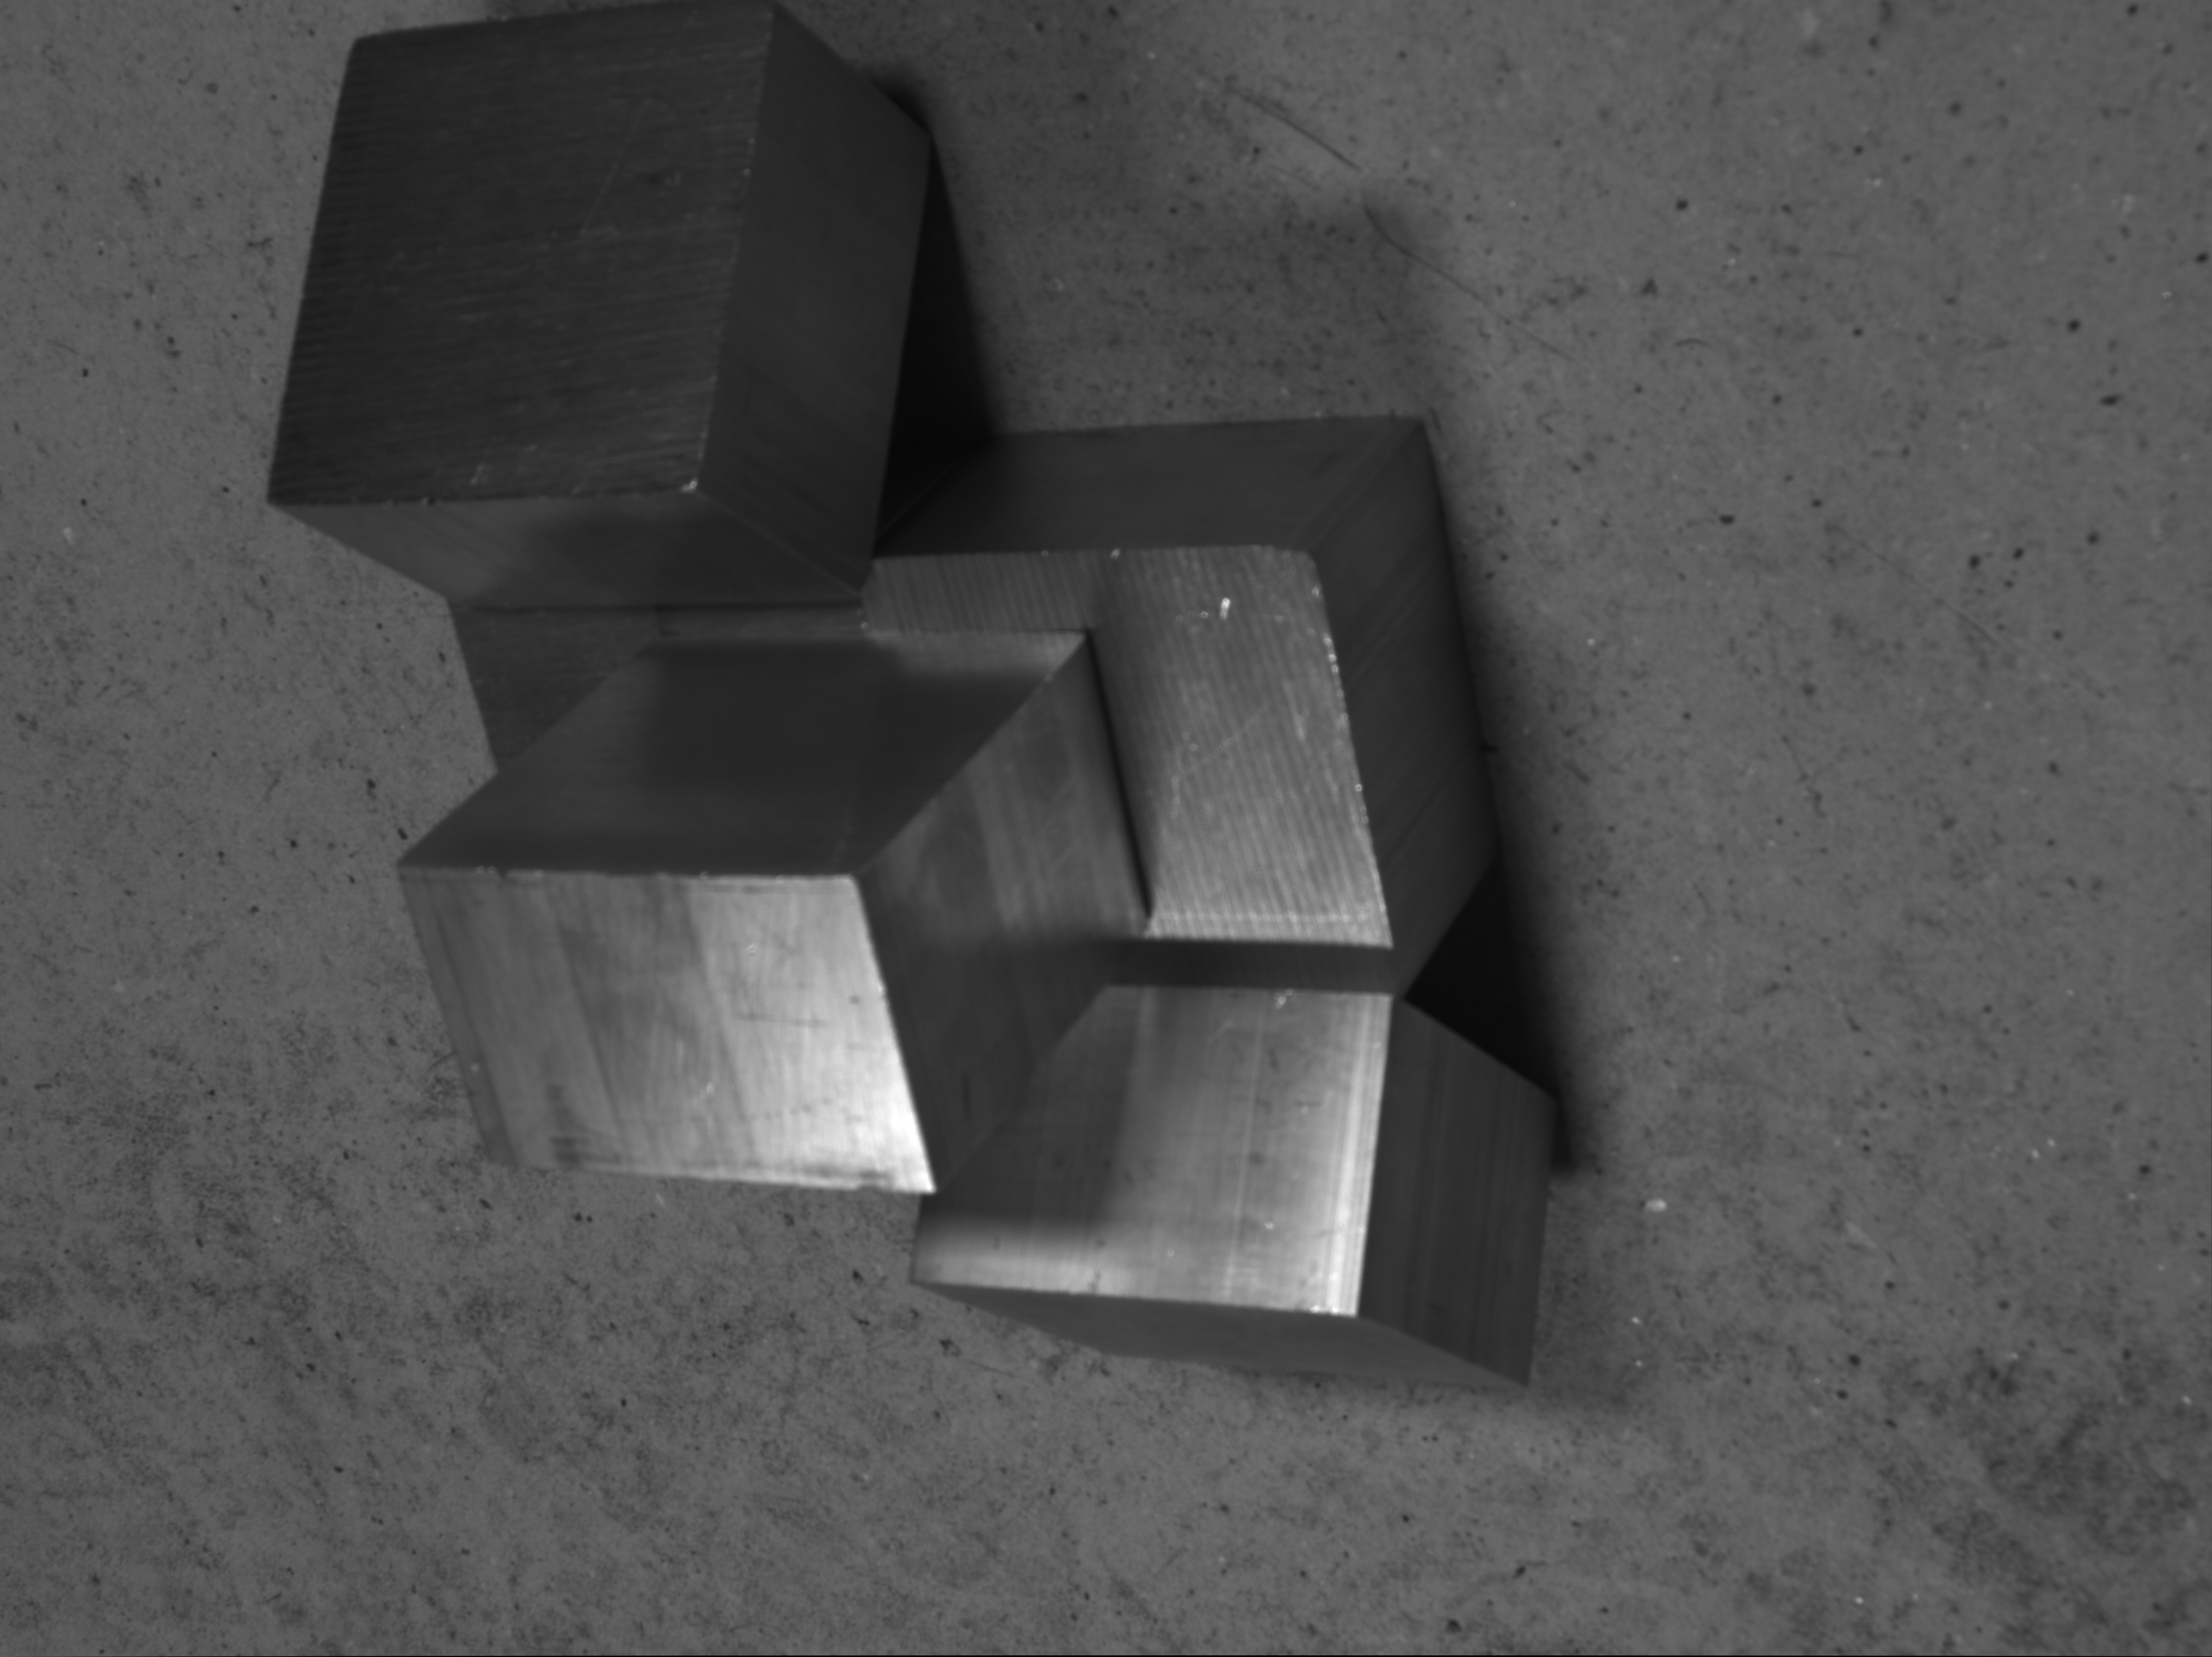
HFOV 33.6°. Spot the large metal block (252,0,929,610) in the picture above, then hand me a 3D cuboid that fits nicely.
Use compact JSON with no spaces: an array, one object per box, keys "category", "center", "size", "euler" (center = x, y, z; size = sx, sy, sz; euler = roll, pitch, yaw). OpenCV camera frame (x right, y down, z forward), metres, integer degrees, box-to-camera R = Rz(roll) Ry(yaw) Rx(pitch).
[{"category":"large metal block","center":[-0.081,-0.081,0.580],"size":[0.080,0.050,0.080],"euler":[1,75,27]}]

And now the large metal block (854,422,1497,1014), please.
[{"category":"large metal block","center":[0.012,-0.018,0.596],"size":[0.080,0.050,0.080],"euler":[1,119,26]}]

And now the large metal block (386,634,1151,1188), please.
[{"category":"large metal block","center":[-0.049,0.010,0.564],"size":[0.080,0.080,0.050],"euler":[1,119,26]}]

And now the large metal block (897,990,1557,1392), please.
[{"category":"large metal block","center":[0.022,0.061,0.614],"size":[0.080,0.080,0.050],"euler":[0,74,26]}]

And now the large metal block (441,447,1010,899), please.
[{"category":"large metal block","center":[-0.060,-0.018,0.632],"size":[0.080,0.050,0.080],"euler":[1,119,26]}]
